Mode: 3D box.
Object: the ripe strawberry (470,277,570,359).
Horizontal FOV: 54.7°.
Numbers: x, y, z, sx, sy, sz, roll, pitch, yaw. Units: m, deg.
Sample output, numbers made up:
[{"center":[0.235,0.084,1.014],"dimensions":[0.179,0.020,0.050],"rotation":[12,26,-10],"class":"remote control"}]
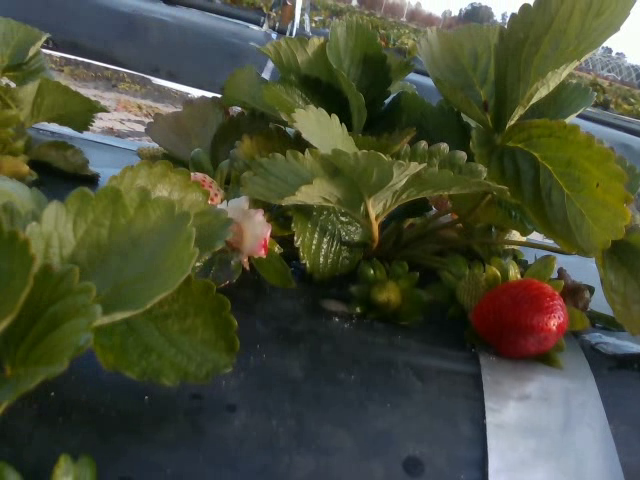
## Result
[{"center":[0.083,0.029,0.238],"dimensions":[0.050,0.035,0.055],"rotation":[26,22,9],"class":"ripe strawberry"}]
